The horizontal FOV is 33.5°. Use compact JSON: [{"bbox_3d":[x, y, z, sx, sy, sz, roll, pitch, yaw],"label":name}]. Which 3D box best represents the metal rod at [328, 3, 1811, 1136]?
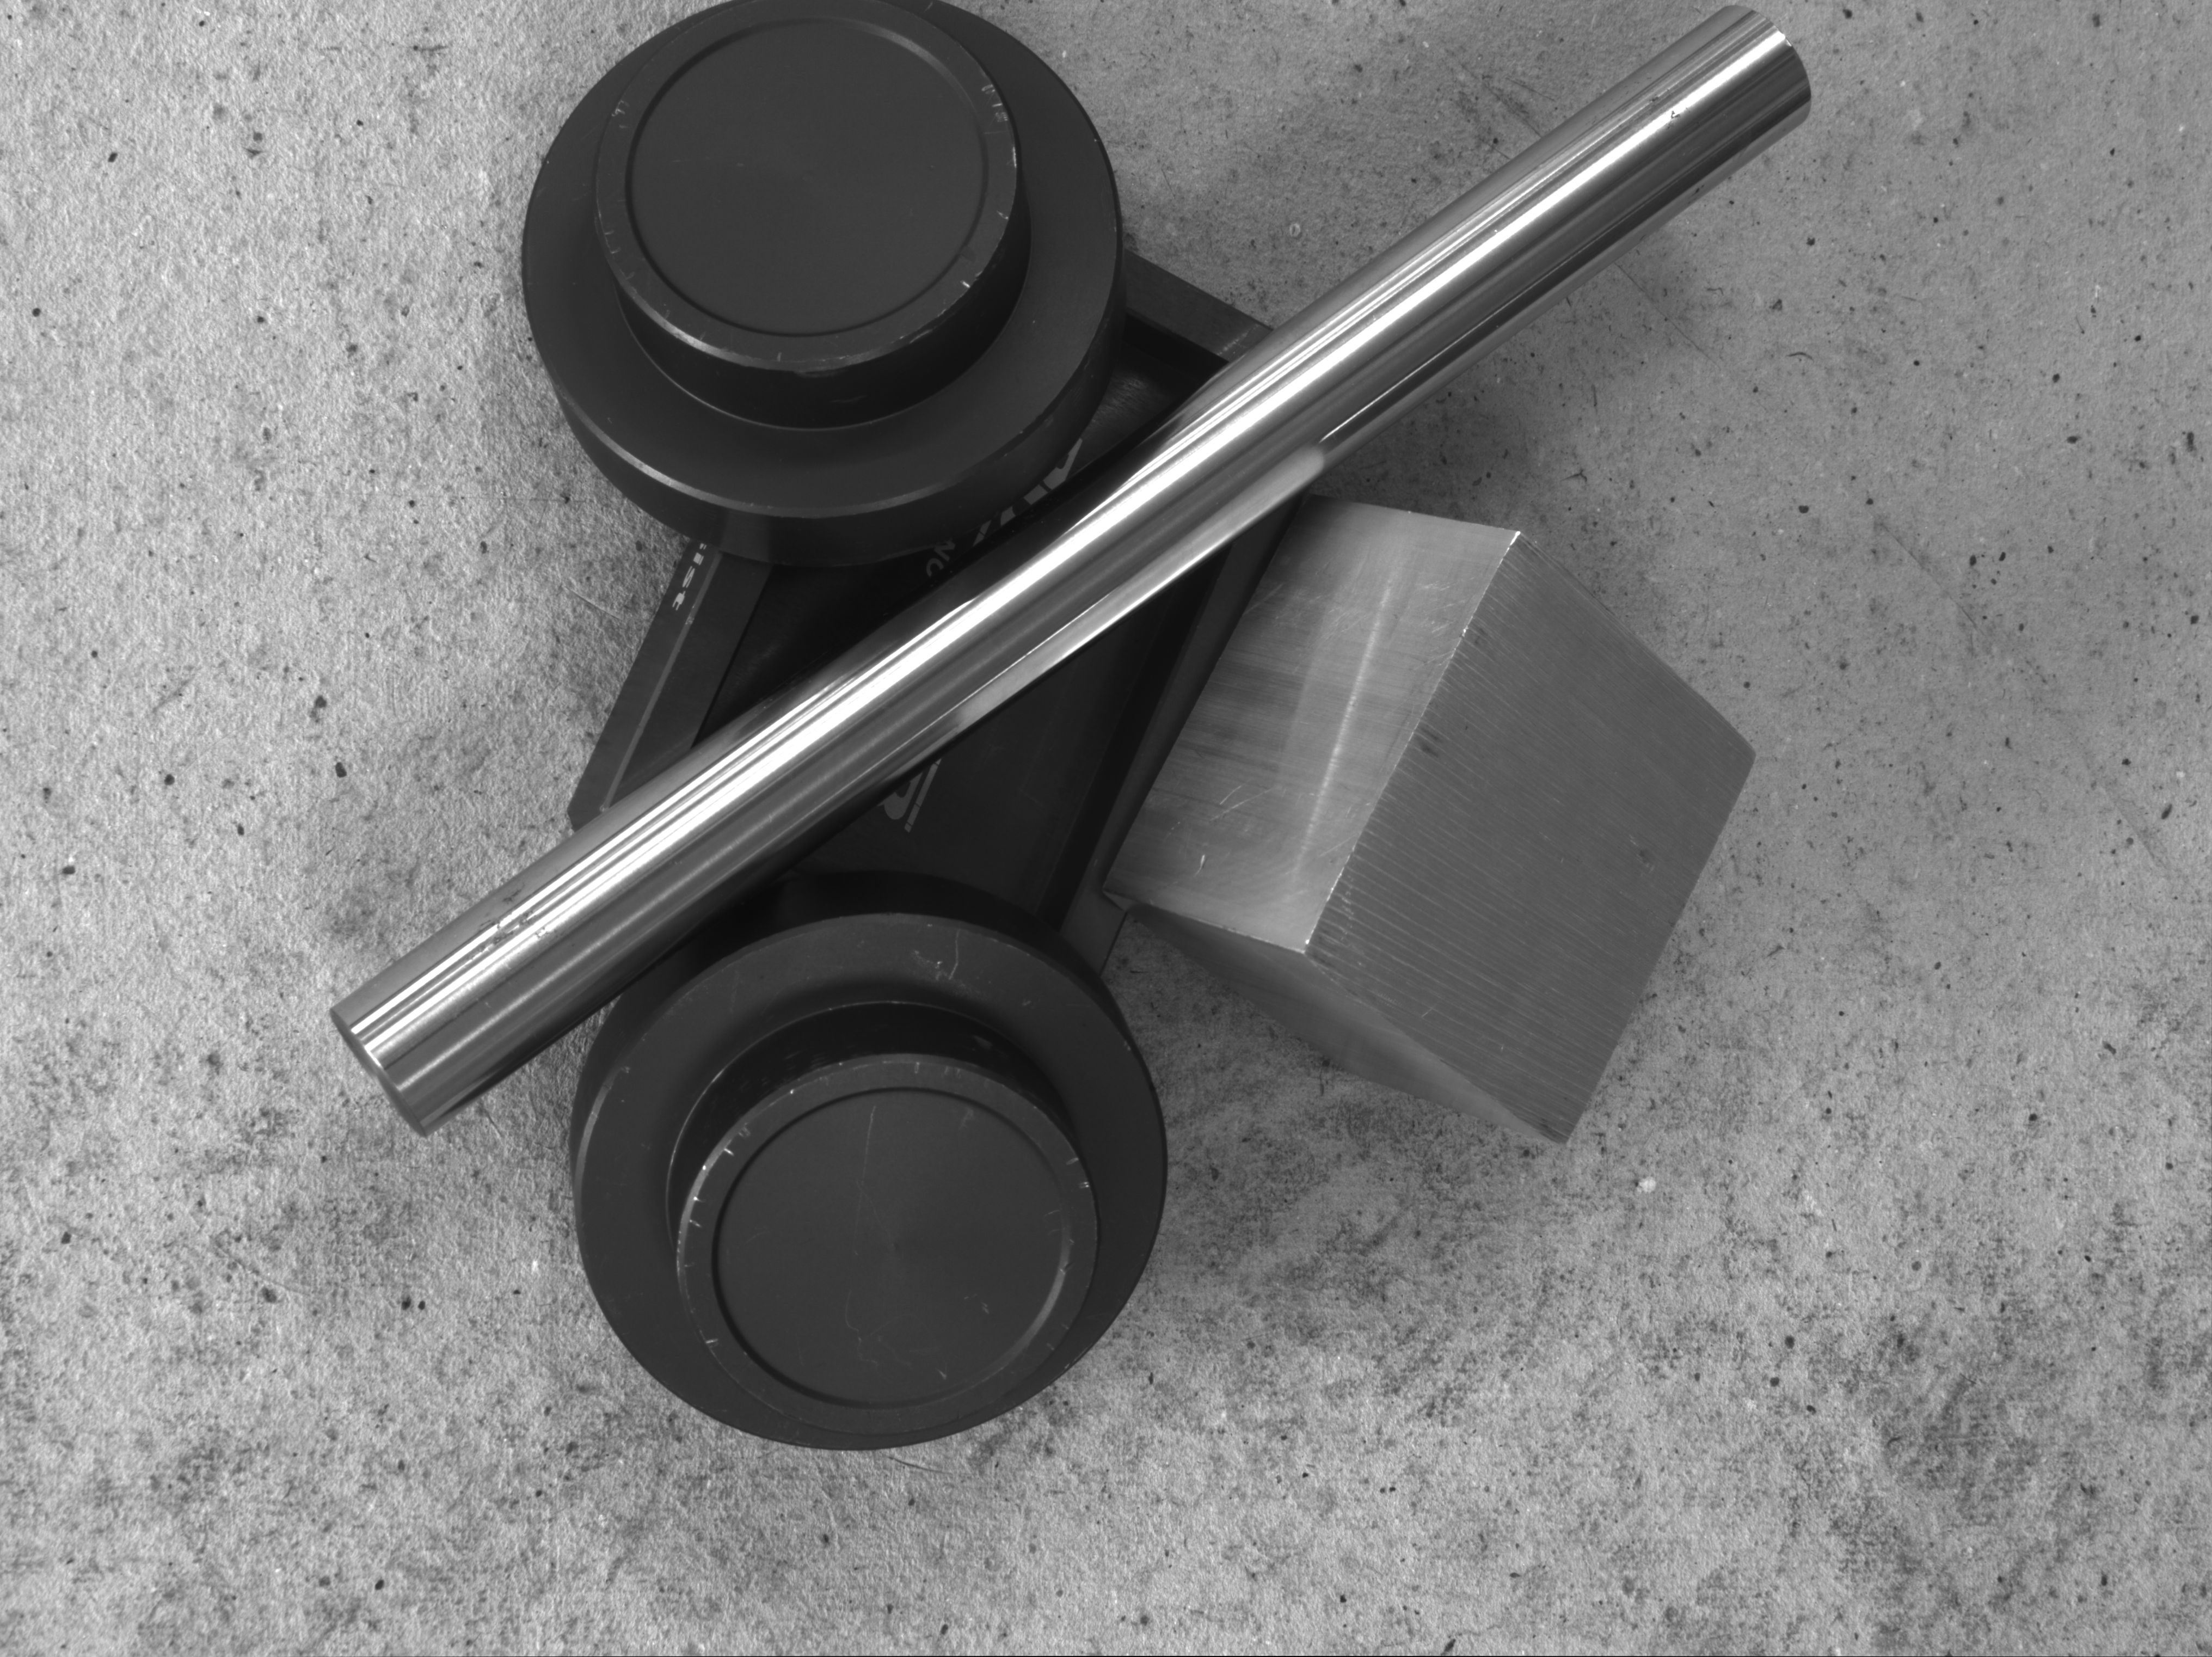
[{"bbox_3d":[0.002,-0.049,0.613,0.300,0.025,0.025,-37,102,-16],"label":"metal rod"}]

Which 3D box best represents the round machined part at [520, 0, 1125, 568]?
[{"bbox_3d":[-0.047,-0.095,0.597,0.098,0.042,0.098,-1,71,2],"label":"round machined part"}]

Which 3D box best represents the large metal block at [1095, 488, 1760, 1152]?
[{"bbox_3d":[0.057,-0.002,0.636,0.080,0.050,0.080,37,77,-41],"label":"large metal block"}]

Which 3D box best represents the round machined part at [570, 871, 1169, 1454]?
[{"bbox_3d":[-0.037,0.060,0.603,0.098,0.042,0.098,-4,111,-11],"label":"round machined part"}]

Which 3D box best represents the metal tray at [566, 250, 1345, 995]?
[{"bbox_3d":[-0.025,-0.039,0.632,0.090,0.030,0.130,26,81,-18],"label":"metal tray"}]
